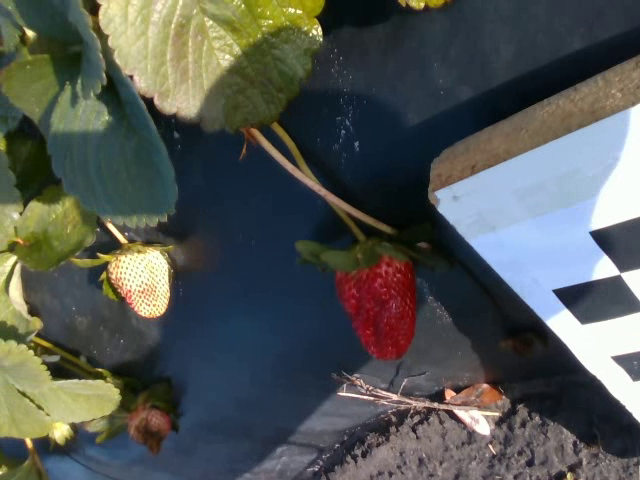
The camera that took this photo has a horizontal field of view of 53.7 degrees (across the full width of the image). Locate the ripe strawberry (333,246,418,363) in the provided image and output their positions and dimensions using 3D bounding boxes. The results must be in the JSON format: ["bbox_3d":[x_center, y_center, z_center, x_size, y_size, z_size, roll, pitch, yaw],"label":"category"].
[{"bbox_3d":[0.009,0.009,0.098,0.015,0.023,0.015,-16,-8,32],"label":"ripe strawberry"}]
